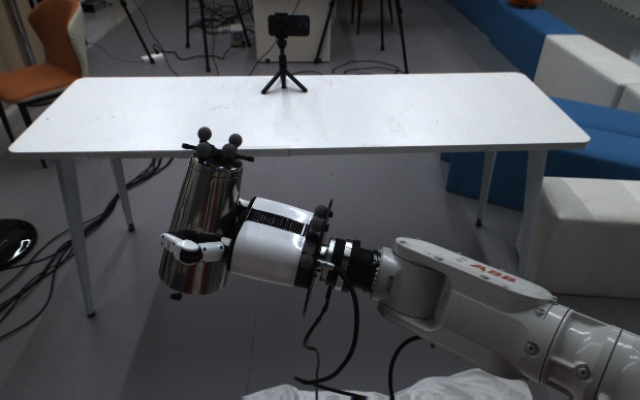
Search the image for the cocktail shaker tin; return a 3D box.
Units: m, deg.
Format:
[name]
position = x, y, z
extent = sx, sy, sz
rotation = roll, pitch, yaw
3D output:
[cocktail shaker tin]
position = -0.149, 0.026, 0.630
extent = 0.093, 0.170, 0.093
rotation = 15, 20, -5
